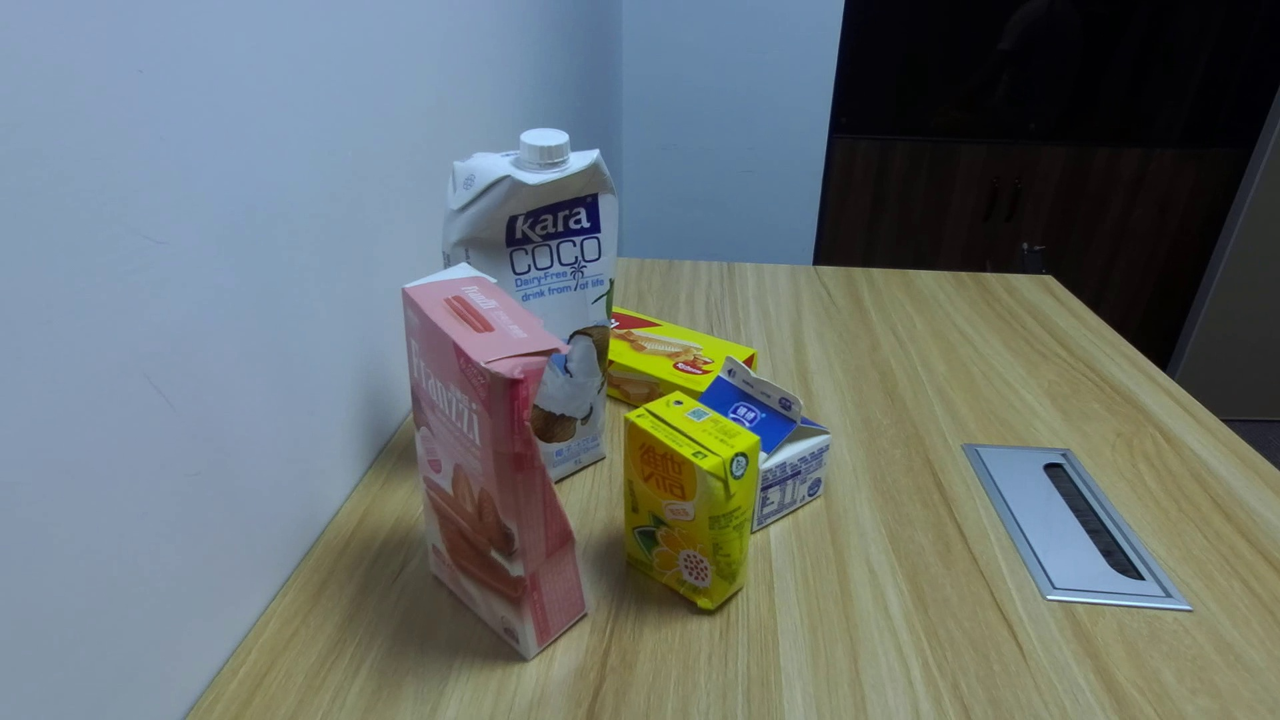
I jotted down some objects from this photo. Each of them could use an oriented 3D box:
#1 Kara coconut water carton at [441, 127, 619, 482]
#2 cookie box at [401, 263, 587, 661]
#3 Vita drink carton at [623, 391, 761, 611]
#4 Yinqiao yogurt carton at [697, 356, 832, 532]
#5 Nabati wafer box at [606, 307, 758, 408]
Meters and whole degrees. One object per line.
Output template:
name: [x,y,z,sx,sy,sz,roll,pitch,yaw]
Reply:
Kara coconut water carton: [-0.068,-0.030,0.474,0.115,0.238,0.069,-23,37,-37]
cookie box: [-0.074,0.058,0.371,0.056,0.184,0.118,-21,33,-34]
Vita drink carton: [0.029,0.083,0.398,0.043,0.109,0.076,-22,36,-35]
Yinqiao yogurt carton: [0.079,0.050,0.476,0.074,0.092,0.075,-18,34,-34]
Nabati wafer box: [-0.004,-0.003,0.634,0.202,0.042,0.093,19,33,31]
